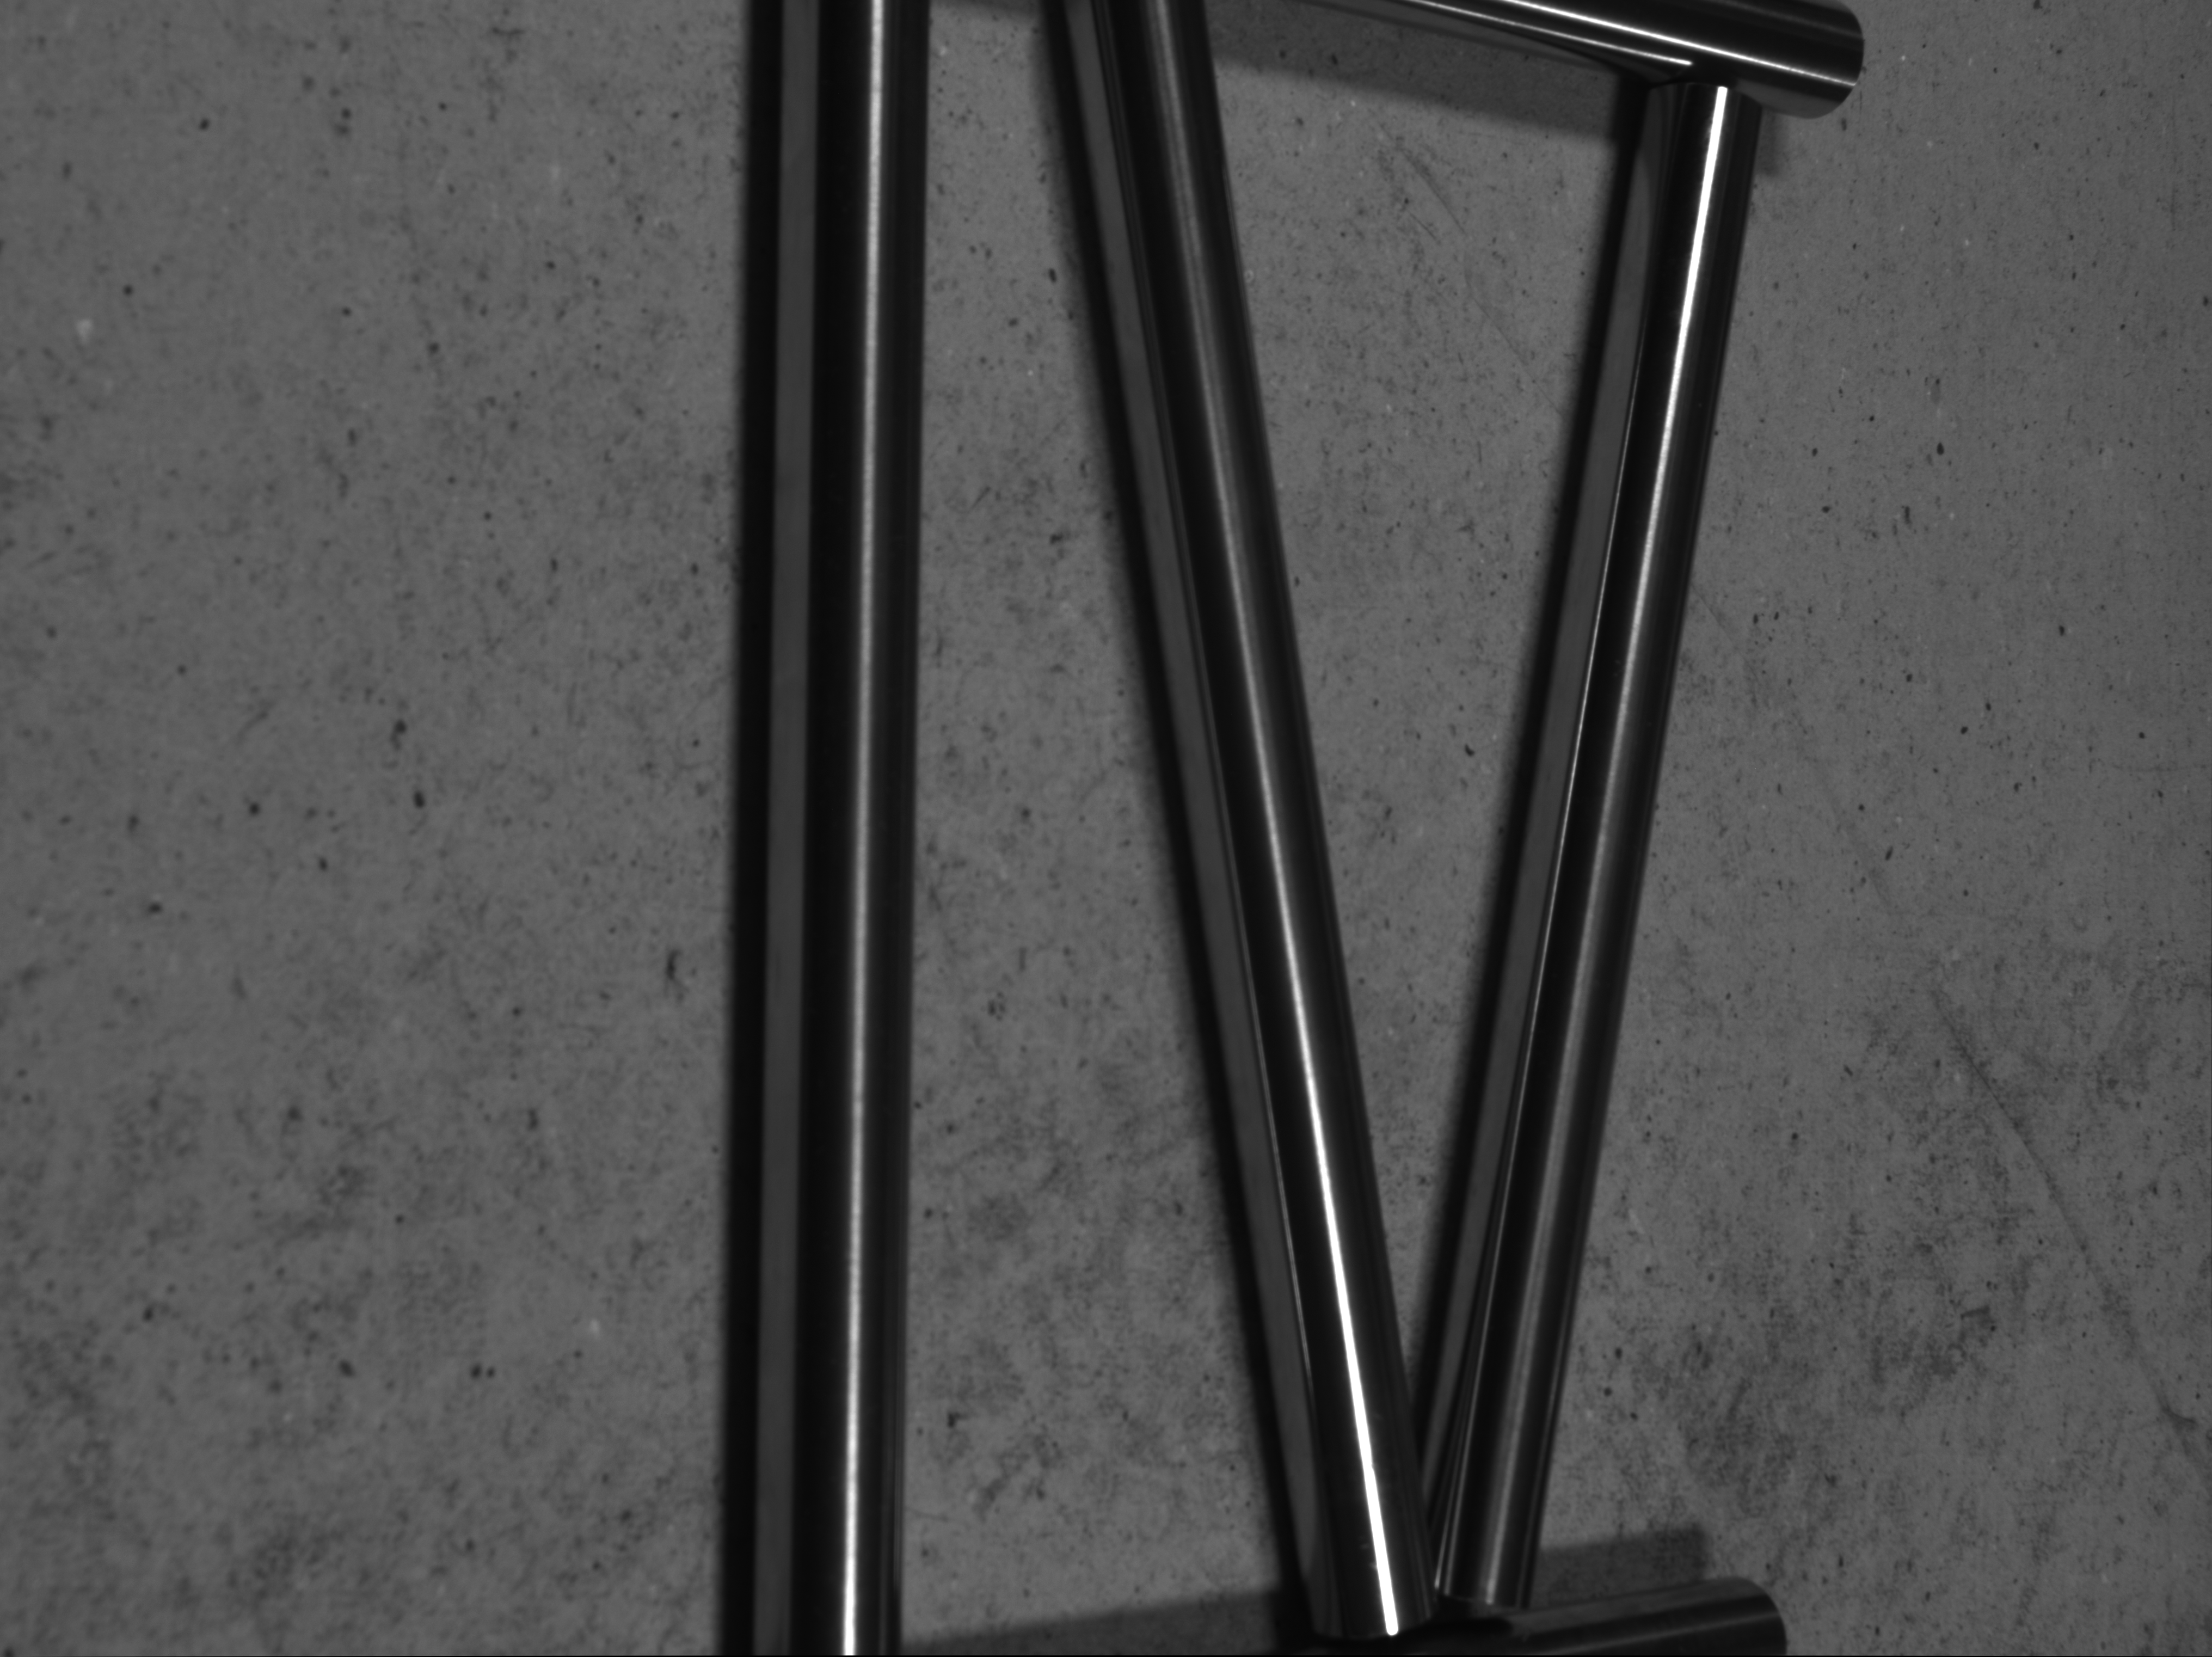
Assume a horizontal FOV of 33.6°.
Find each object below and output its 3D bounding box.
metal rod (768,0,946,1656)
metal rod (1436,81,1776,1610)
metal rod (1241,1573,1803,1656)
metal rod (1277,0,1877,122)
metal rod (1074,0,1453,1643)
[{"bbox_3d":[-0.041,-0.003,0.602,0.025,0.025,0.300,2,89,-40],"label":"metal rod"},{"bbox_3d":[0.097,0.000,0.717,0.025,0.025,0.300,17,79,-38],"label":"metal rod"},{"bbox_3d":[0.017,0.161,0.650,0.301,0.025,0.025,2,89,-40],"label":"metal rod"},{"bbox_3d":[0.035,-0.163,0.667,0.301,0.025,0.025,2,89,-40],"label":"metal rod"},{"bbox_3d":[0.029,-0.001,0.661,0.025,0.025,0.300,-15,99,-39],"label":"metal rod"}]
